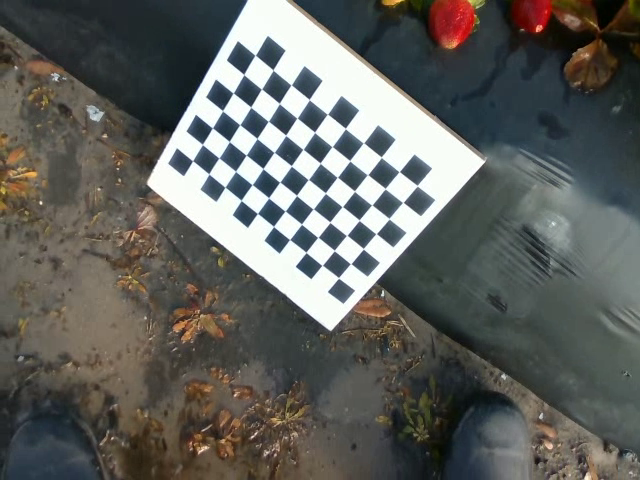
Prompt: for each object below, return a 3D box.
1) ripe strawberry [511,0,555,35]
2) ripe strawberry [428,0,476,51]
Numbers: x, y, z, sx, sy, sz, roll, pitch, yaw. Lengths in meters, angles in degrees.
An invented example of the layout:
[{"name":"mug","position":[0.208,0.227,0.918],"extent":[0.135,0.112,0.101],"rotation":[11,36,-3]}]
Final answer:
[{"name":"ripe strawberry","position":[0.212,-0.225,0.596],"extent":[0.045,0.055,0.042],"rotation":[-22,-39,24]},{"name":"ripe strawberry","position":[0.128,-0.212,0.582],"extent":[0.050,0.065,0.049],"rotation":[2,-34,18]}]
